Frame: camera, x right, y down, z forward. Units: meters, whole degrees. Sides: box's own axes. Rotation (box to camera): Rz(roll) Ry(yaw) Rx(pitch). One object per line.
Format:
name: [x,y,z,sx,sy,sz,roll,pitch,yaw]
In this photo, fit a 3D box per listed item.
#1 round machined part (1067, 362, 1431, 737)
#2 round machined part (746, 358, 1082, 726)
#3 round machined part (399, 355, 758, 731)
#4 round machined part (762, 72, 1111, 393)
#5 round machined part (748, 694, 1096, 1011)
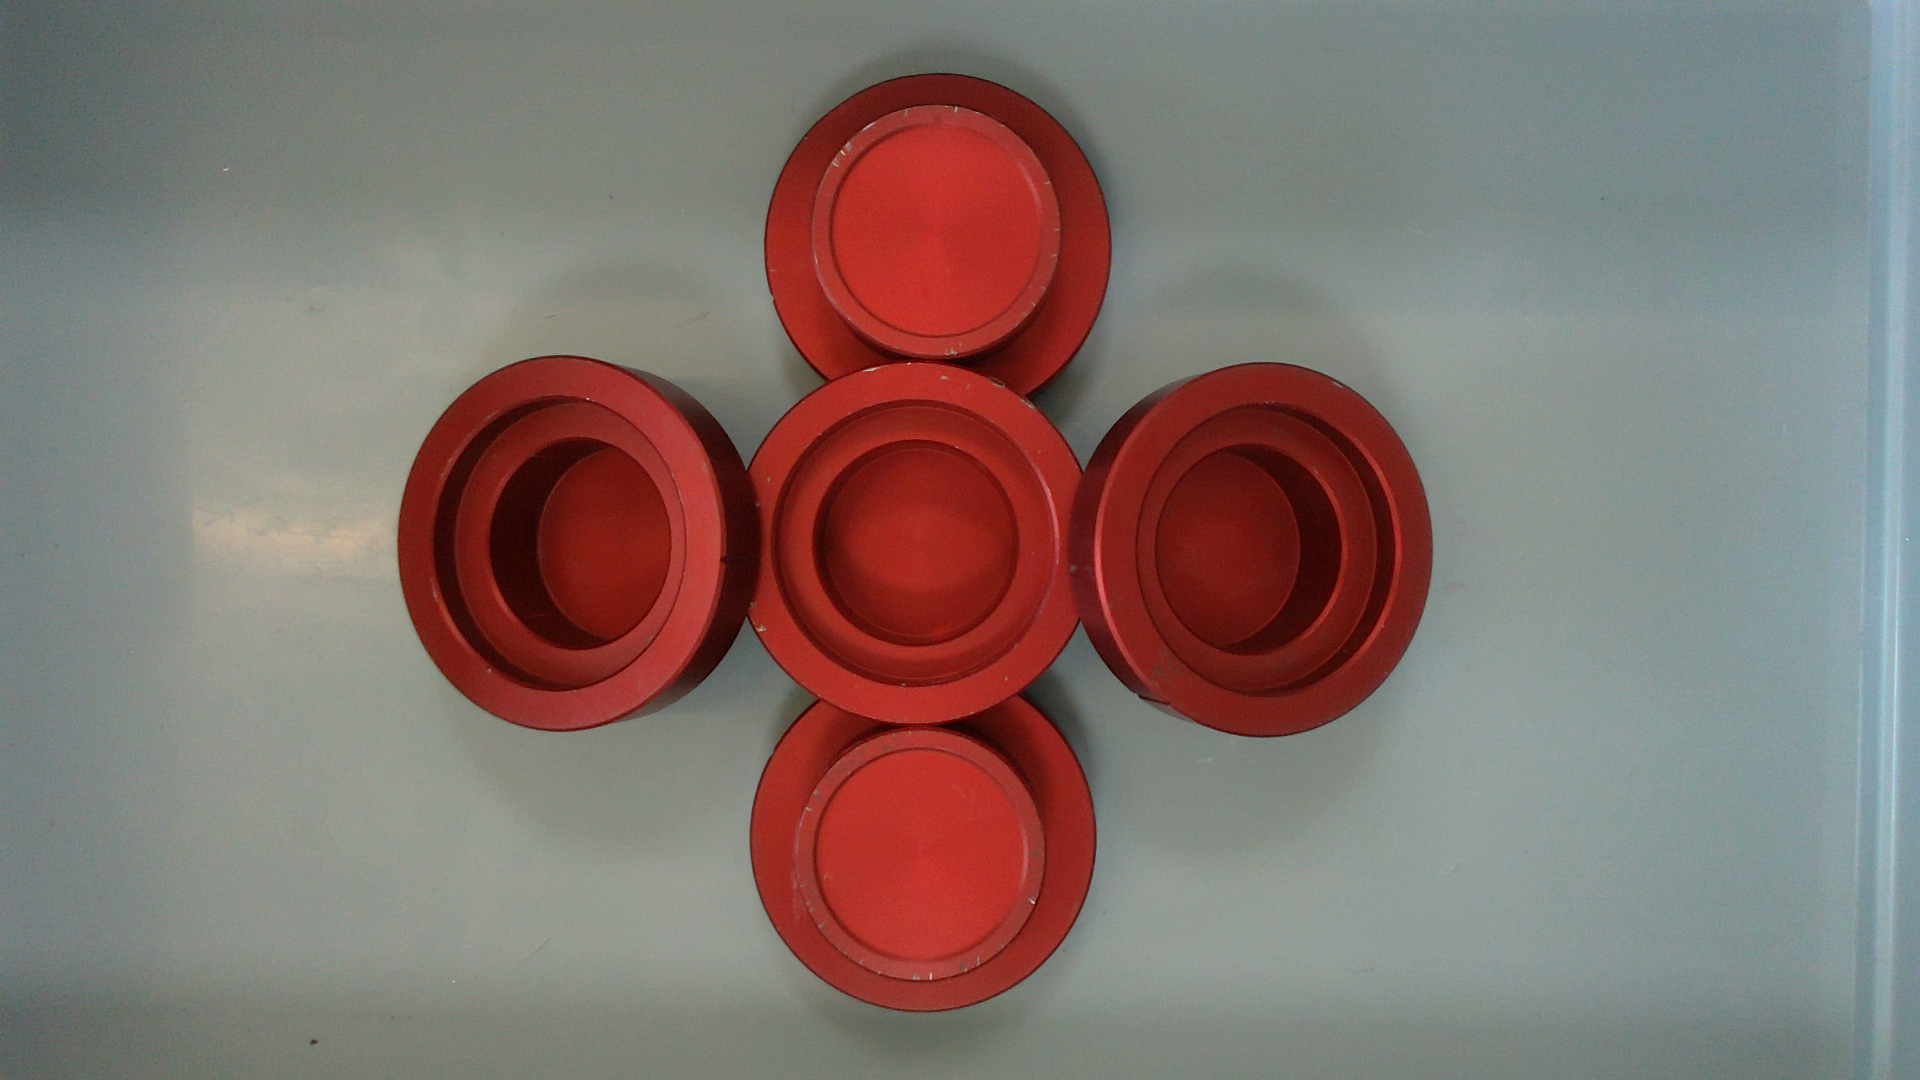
round machined part: [0.075,0.002,0.378,0.098,0.042,0.098,0,90,-17]
round machined part: [-0.012,0.001,0.385,0.098,0.042,0.098,0,90,0]
round machined part: [-0.099,0.001,0.377,0.098,0.042,0.098,0,90,17]
round machined part: [-0.007,-0.082,0.385,0.098,0.042,0.098,0,90,0]
round machined part: [-0.011,0.084,0.386,0.098,0.042,0.098,0,90,0]
